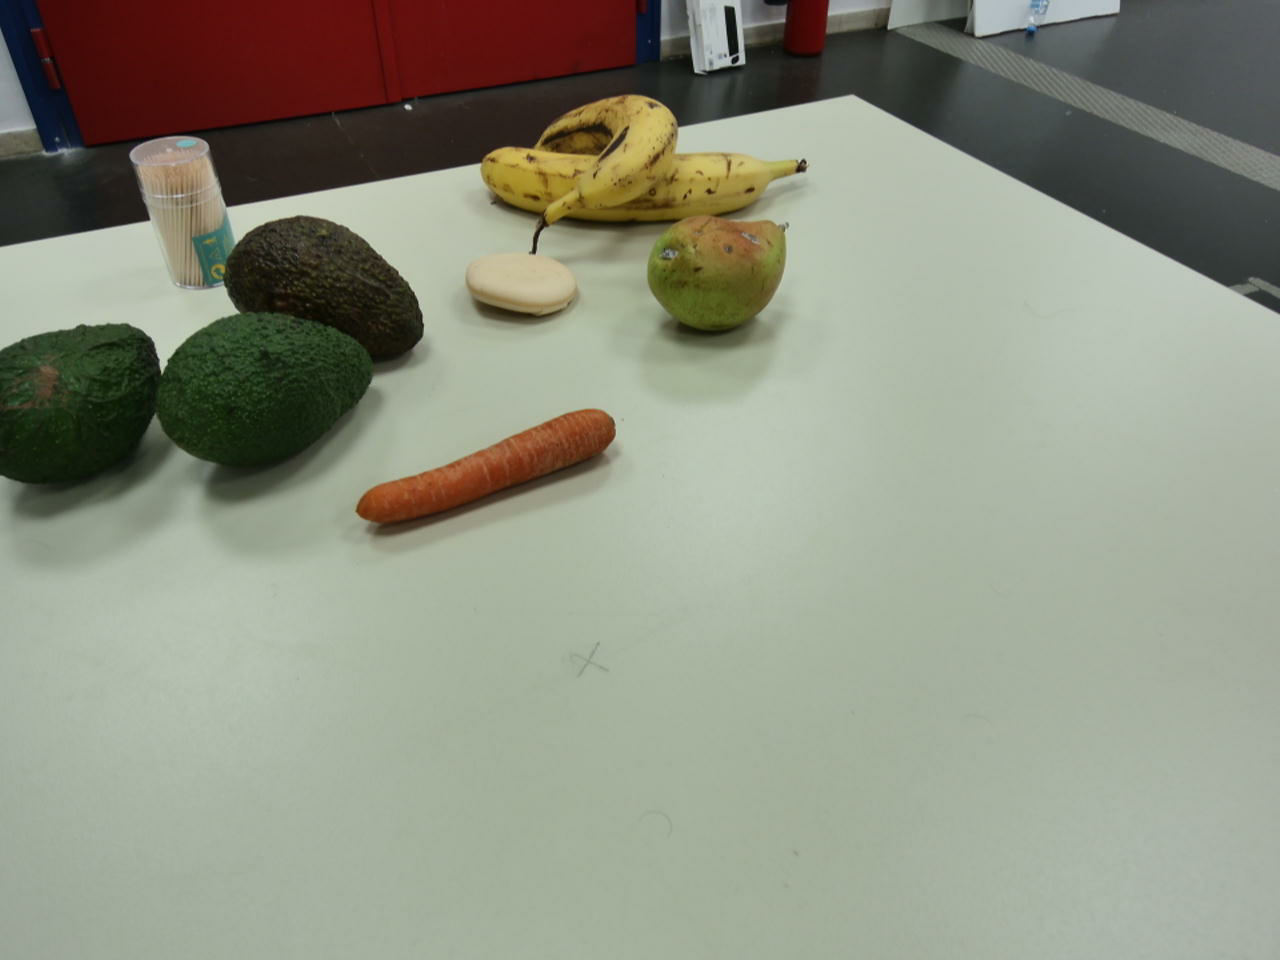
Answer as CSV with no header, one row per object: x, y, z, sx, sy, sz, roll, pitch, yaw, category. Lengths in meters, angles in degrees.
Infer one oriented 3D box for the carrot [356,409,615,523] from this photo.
-0.065,-0.007,0.441,0.122,0.023,0.024,-19,42,-23,carrot
